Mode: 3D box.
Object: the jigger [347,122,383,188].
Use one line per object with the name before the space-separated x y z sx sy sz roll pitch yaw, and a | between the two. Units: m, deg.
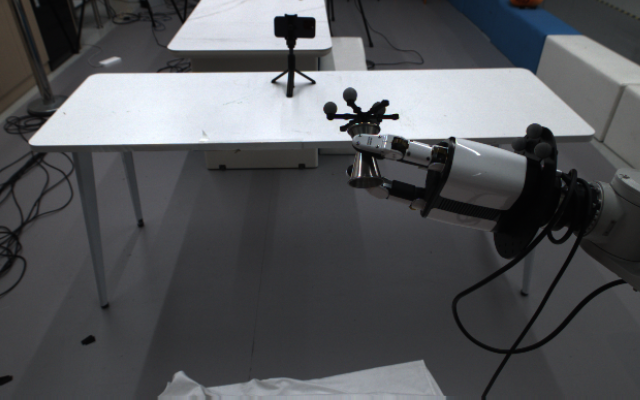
jigger | 0.054 -0.054 0.574 0.043 0.043 0.071 0 75 -3
